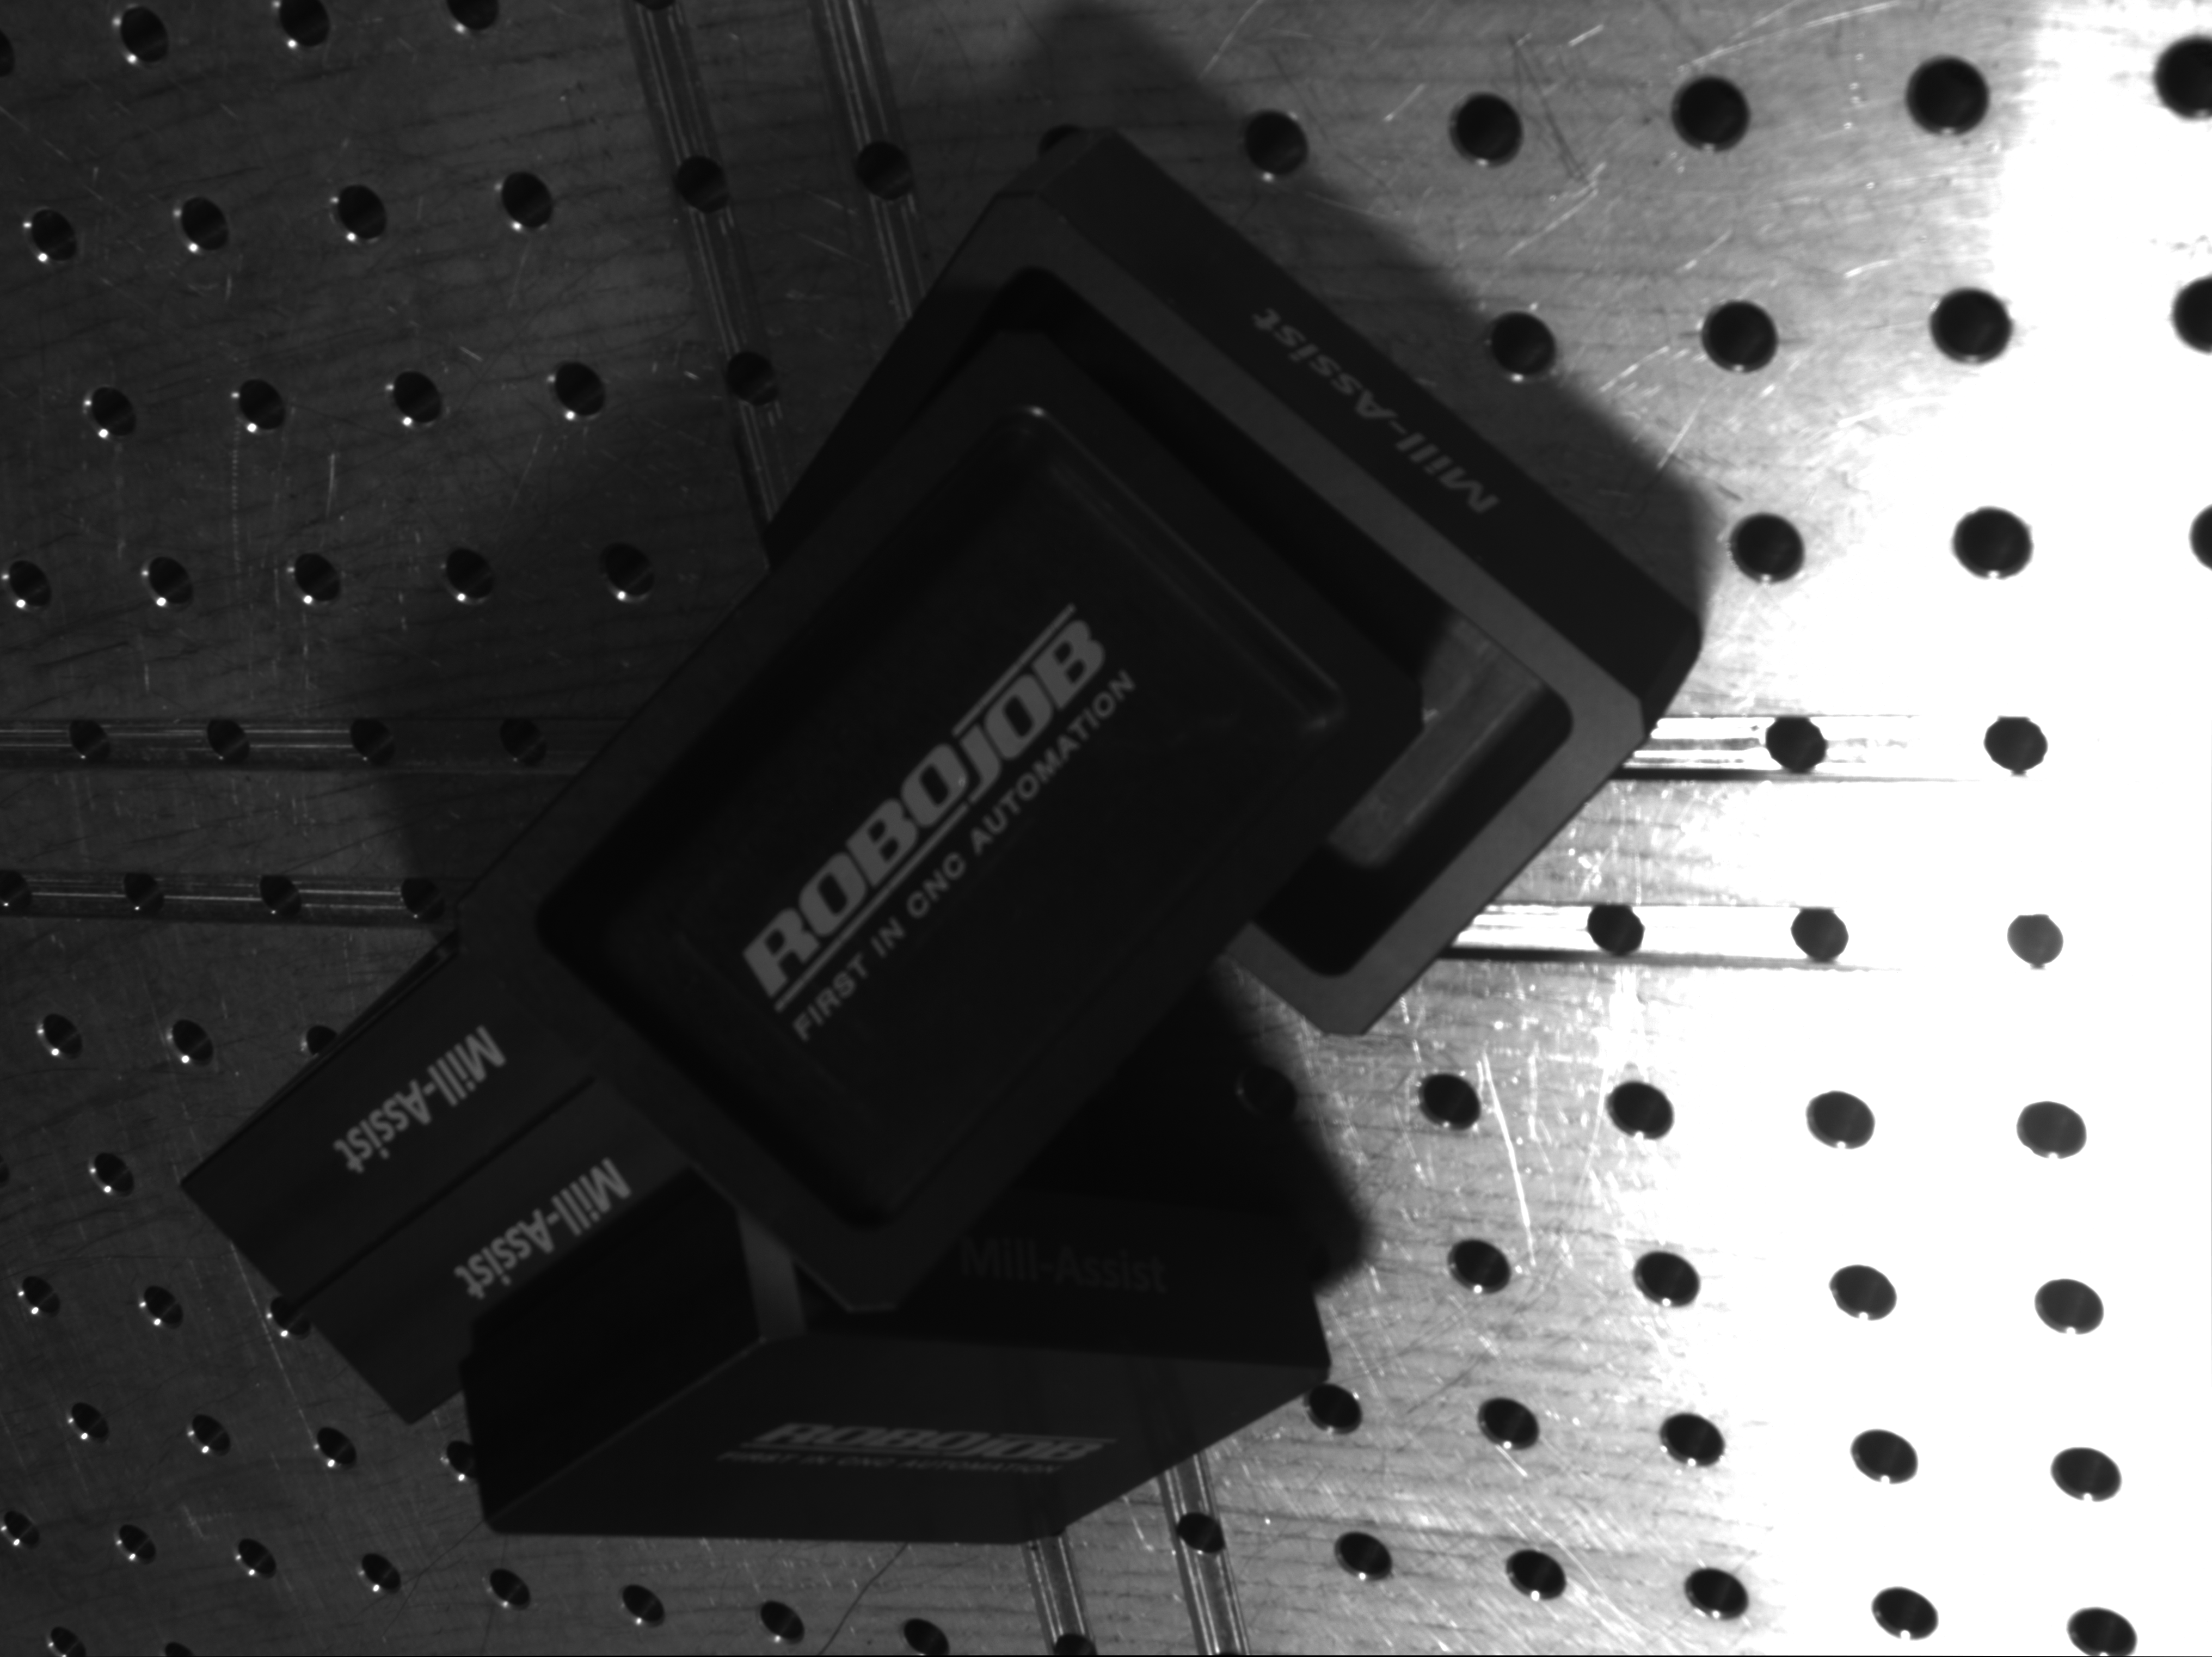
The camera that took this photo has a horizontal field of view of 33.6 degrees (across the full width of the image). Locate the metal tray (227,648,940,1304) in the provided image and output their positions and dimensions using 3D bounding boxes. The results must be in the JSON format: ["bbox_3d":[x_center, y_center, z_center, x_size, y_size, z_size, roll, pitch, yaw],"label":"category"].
[{"bbox_3d":[-0.091,0.025,0.653,0.030,0.090,0.130,48,128,-6],"label":"metal tray"}]

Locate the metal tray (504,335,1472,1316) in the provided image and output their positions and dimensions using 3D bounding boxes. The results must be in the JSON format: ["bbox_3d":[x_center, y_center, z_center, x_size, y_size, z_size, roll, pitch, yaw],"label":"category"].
[{"bbox_3d":[-0.018,0.000,0.571,0.090,0.030,0.130,43,83,-3],"label":"metal tray"}]

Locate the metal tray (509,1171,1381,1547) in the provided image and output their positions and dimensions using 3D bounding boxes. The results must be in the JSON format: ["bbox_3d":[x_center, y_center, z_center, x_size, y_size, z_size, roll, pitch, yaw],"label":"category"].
[{"bbox_3d":[-0.027,0.097,0.647,0.090,0.130,0.030,-36,57,37],"label":"metal tray"}]

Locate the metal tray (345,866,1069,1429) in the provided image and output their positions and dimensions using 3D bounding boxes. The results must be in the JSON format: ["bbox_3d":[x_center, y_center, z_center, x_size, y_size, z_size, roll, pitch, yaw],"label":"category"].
[{"bbox_3d":[-0.071,0.048,0.655,0.030,0.090,0.130,48,128,-6],"label":"metal tray"}]

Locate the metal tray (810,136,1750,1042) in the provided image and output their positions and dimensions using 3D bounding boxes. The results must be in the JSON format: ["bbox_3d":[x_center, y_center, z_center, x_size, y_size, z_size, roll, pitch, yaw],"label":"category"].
[{"bbox_3d":[0.027,-0.037,0.594,0.130,0.030,0.090,40,128,0],"label":"metal tray"}]
